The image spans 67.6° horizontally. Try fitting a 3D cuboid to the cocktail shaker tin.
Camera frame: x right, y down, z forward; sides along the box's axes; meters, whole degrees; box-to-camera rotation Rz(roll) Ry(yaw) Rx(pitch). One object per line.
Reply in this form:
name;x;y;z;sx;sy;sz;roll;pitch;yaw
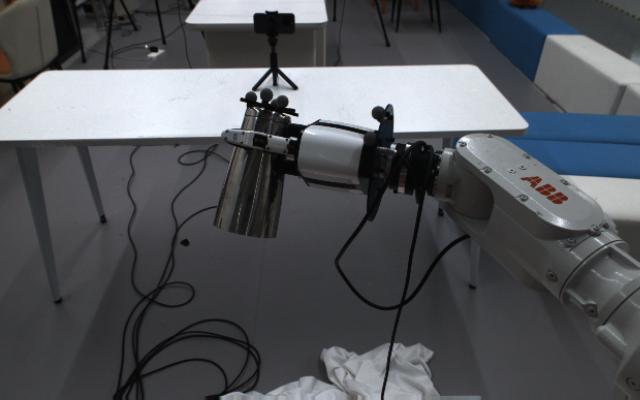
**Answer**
cocktail shaker tin;-0.089;-0.042;0.689;0.093;0.170;0.093;12;3;-1
